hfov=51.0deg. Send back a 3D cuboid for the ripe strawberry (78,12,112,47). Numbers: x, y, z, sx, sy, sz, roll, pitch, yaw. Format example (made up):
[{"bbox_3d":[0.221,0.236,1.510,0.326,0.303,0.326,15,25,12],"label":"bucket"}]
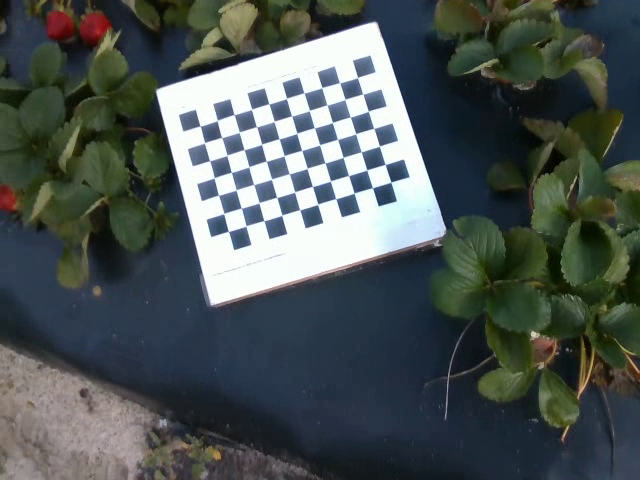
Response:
[{"bbox_3d":[-0.337,-0.312,0.991,0.058,0.051,0.064,-36,43,-1],"label":"ripe strawberry"}]

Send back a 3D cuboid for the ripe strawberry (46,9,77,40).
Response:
[{"bbox_3d":[-0.398,-0.316,1.008,0.049,0.055,0.041,-3,-36,9],"label":"ripe strawberry"}]
